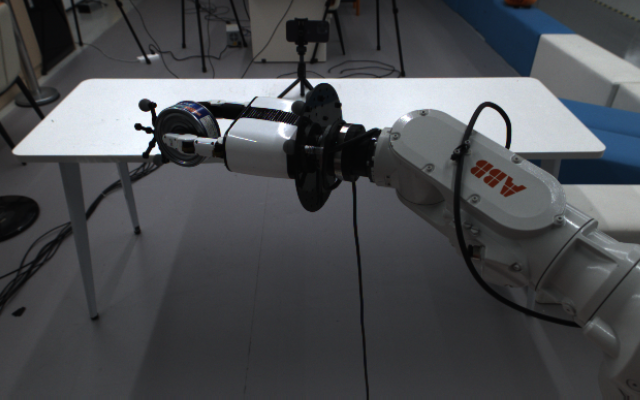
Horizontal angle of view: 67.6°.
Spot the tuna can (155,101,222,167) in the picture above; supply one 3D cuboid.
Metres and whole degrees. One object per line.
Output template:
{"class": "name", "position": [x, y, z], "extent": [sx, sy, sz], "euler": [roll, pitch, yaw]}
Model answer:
{"class": "tuna can", "position": [-0.178, -0.087, 0.654], "extent": [0.085, 0.085, 0.034], "euler": [12, 29, 14]}
